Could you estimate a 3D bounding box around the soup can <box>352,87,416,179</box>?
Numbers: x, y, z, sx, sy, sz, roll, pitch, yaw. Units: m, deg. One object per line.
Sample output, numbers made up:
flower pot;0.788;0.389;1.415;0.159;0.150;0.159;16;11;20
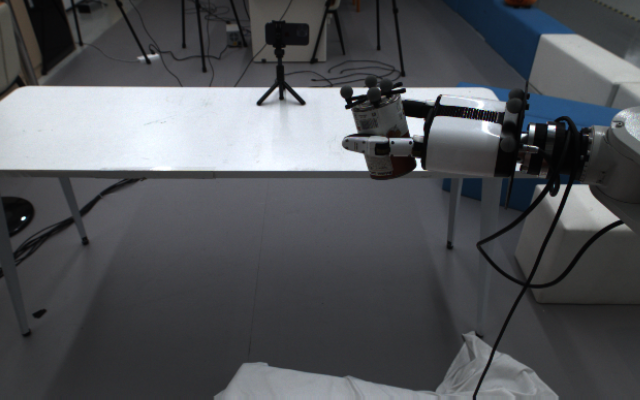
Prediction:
soup can;0.087;-0.087;0.650;0.067;0.101;0.067;-16;22;7
